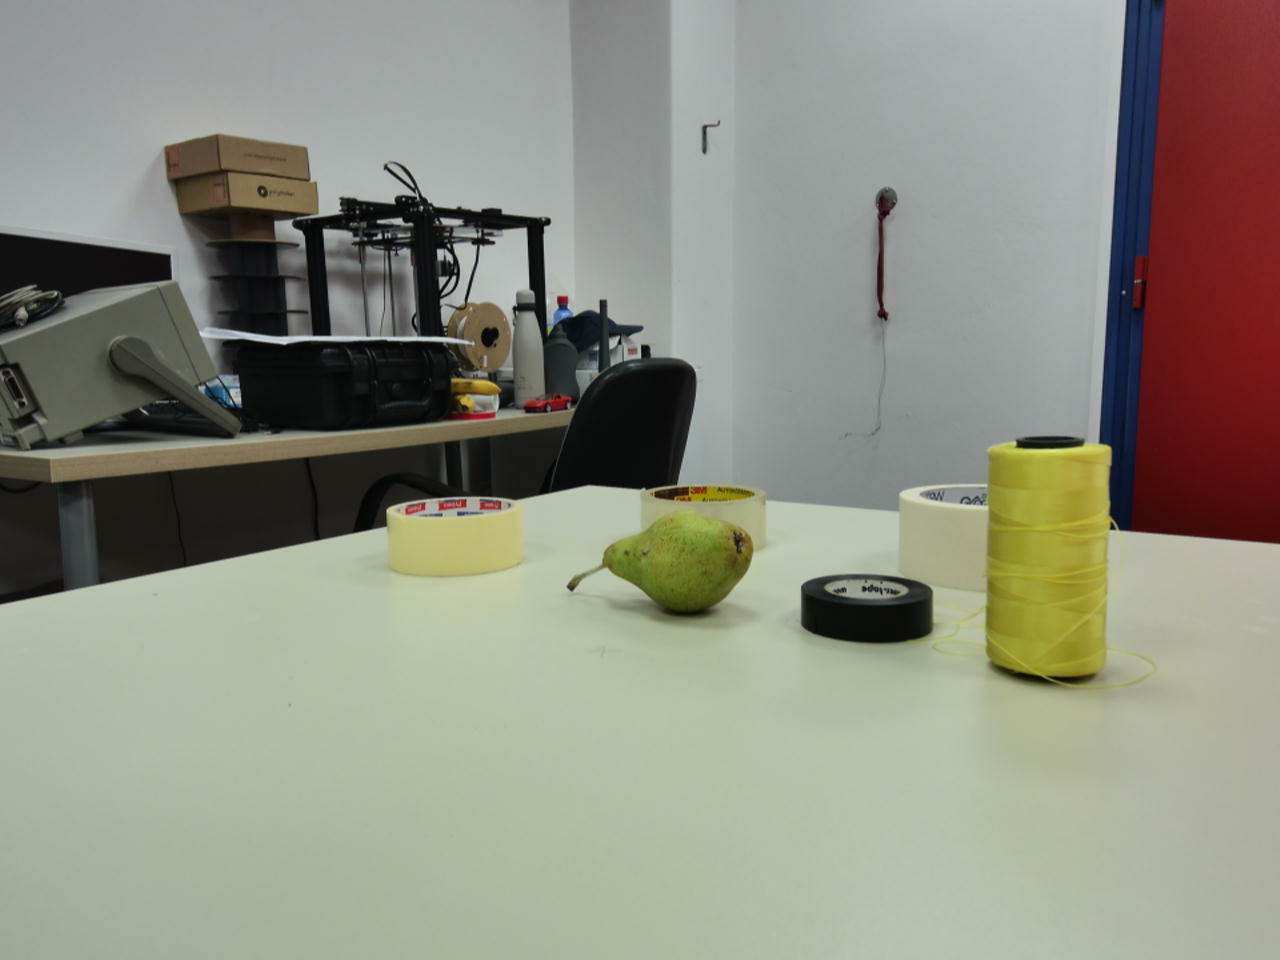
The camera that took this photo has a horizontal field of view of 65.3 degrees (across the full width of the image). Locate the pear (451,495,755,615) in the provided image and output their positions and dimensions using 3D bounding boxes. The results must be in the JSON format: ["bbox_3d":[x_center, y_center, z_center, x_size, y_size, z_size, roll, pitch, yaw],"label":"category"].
[{"bbox_3d":[0.013,0.044,0.565,0.056,0.056,0.111,-4,7,-39],"label":"pear"}]
